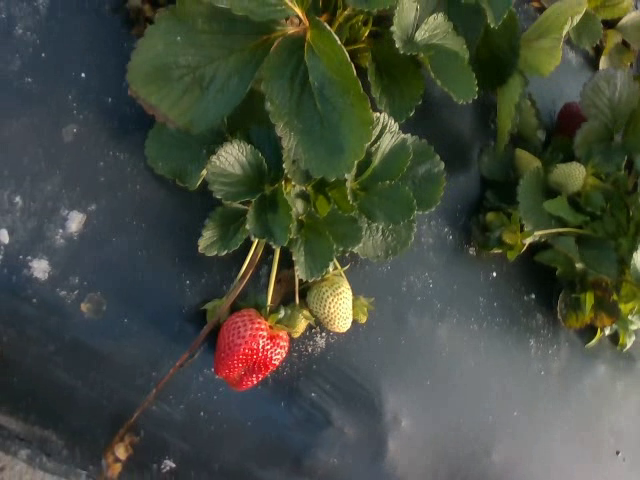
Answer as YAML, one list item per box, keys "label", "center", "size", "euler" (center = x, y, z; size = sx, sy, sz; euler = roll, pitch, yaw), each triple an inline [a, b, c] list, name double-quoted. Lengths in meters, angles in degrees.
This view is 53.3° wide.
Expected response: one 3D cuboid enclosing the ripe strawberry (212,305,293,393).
- label: "ripe strawberry"
  center: [-0.041, 0.070, 0.384]
  size: [0.047, 0.050, 0.034]
  euler: [35, -3, -16]
